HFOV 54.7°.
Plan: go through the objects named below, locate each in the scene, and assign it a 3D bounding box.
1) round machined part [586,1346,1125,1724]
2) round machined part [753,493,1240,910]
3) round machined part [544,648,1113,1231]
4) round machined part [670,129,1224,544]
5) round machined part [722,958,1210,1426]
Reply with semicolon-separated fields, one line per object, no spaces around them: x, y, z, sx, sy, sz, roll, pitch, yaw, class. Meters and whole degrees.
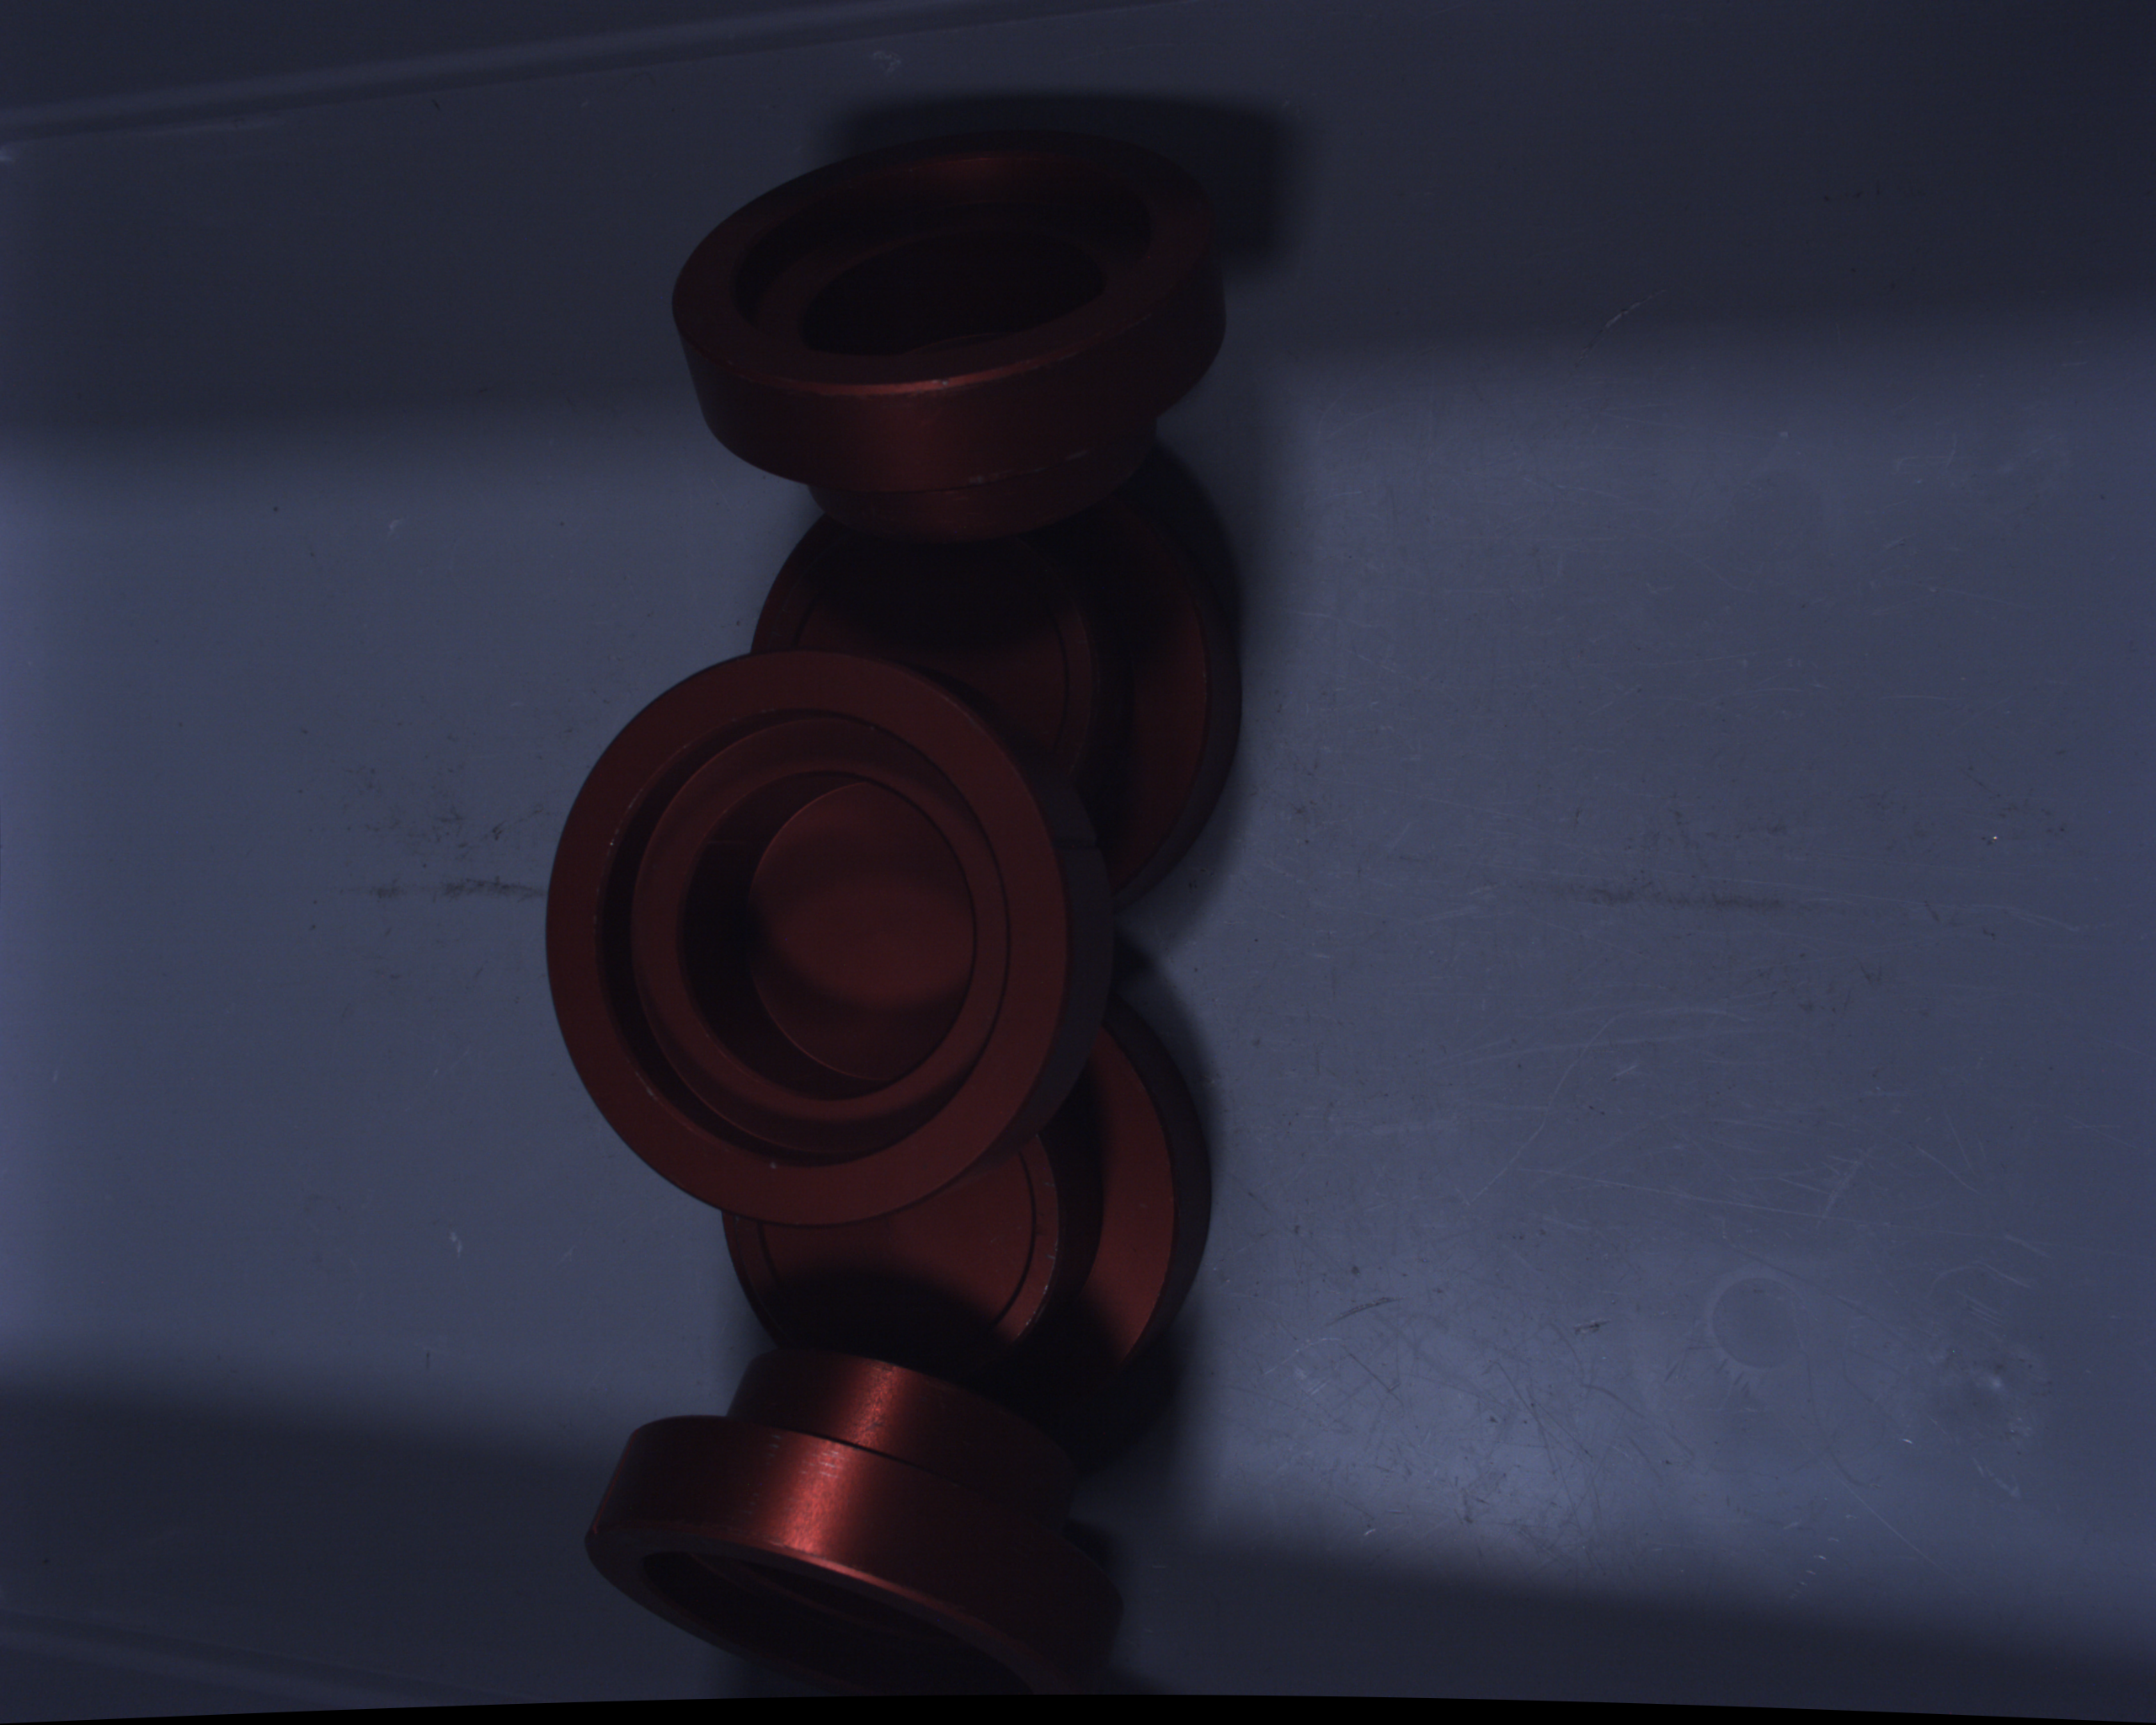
-0.038;0.126;0.393;0.098;0.098;0.042;7;55;19;round machined part
-0.021;-0.033;0.406;0.098;0.042;0.097;0;90;19;round machined part
-0.040;0.013;0.367;0.098;0.042;0.097;0;90;19;round machined part
-0.022;-0.095;0.387;0.098;0.098;0.042;8;135;19;round machined part
-0.027;0.065;0.408;0.098;0.042;0.097;0;90;19;round machined part
